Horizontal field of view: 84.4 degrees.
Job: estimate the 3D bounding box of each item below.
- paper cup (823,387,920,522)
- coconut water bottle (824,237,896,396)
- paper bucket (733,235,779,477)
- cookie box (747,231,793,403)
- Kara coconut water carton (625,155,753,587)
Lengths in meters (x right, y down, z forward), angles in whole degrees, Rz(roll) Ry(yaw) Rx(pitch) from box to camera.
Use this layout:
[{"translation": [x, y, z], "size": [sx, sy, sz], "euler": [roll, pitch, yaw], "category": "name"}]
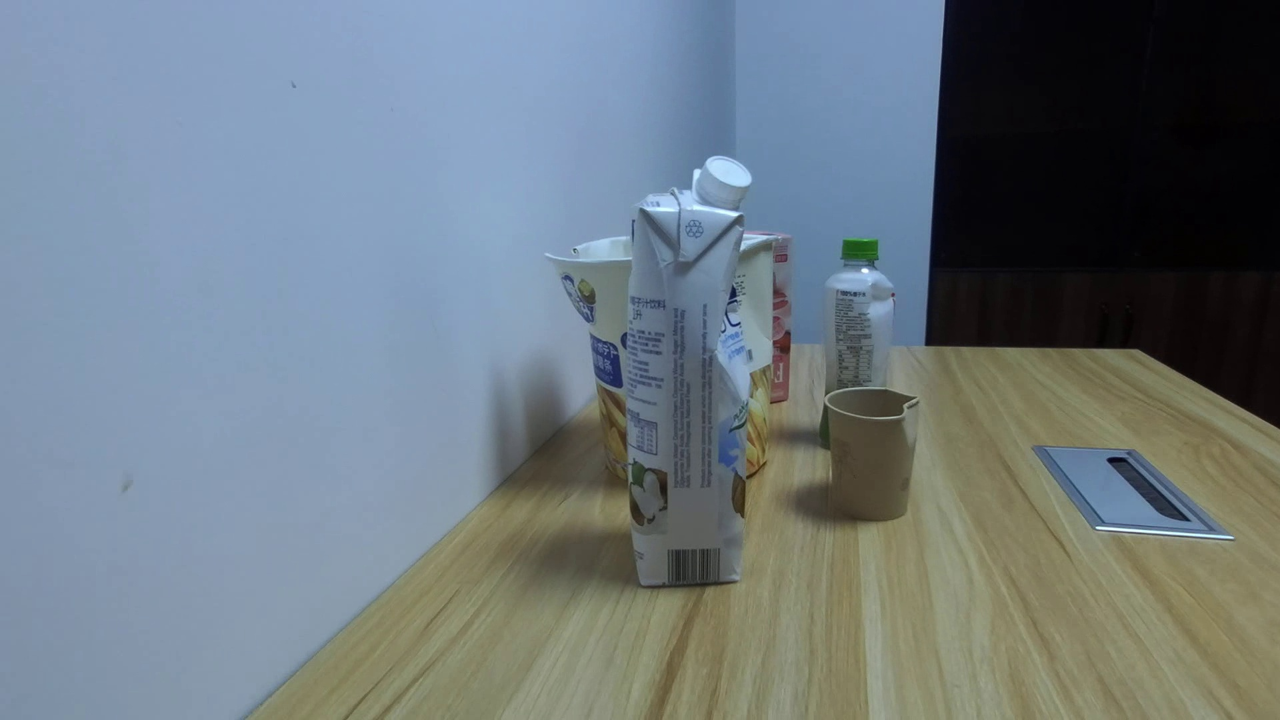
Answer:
[{"translation": [0.170, 0.069, 0.520], "size": [0.069, 0.081, 0.073], "euler": [-9, 15, -24], "category": "paper cup"}, {"translation": [0.199, -0.013, 0.639], "size": [0.069, 0.186, 0.069], "euler": [1, 9, 0], "category": "coconut water bottle"}, {"translation": [0.035, -0.007, 0.613], "size": [0.145, 0.197, 0.203], "euler": [2, 14, 24], "category": "paper bucket"}, {"translation": [0.111, -0.042, 0.765], "size": [0.105, 0.187, 0.048], "euler": [-11, 15, -32], "category": "cookie box"}, {"translation": [0.029, 0.008, 0.435], "size": [0.078, 0.255, 0.083], "euler": [2, 15, 11], "category": "Kara coconut water carton"}]
